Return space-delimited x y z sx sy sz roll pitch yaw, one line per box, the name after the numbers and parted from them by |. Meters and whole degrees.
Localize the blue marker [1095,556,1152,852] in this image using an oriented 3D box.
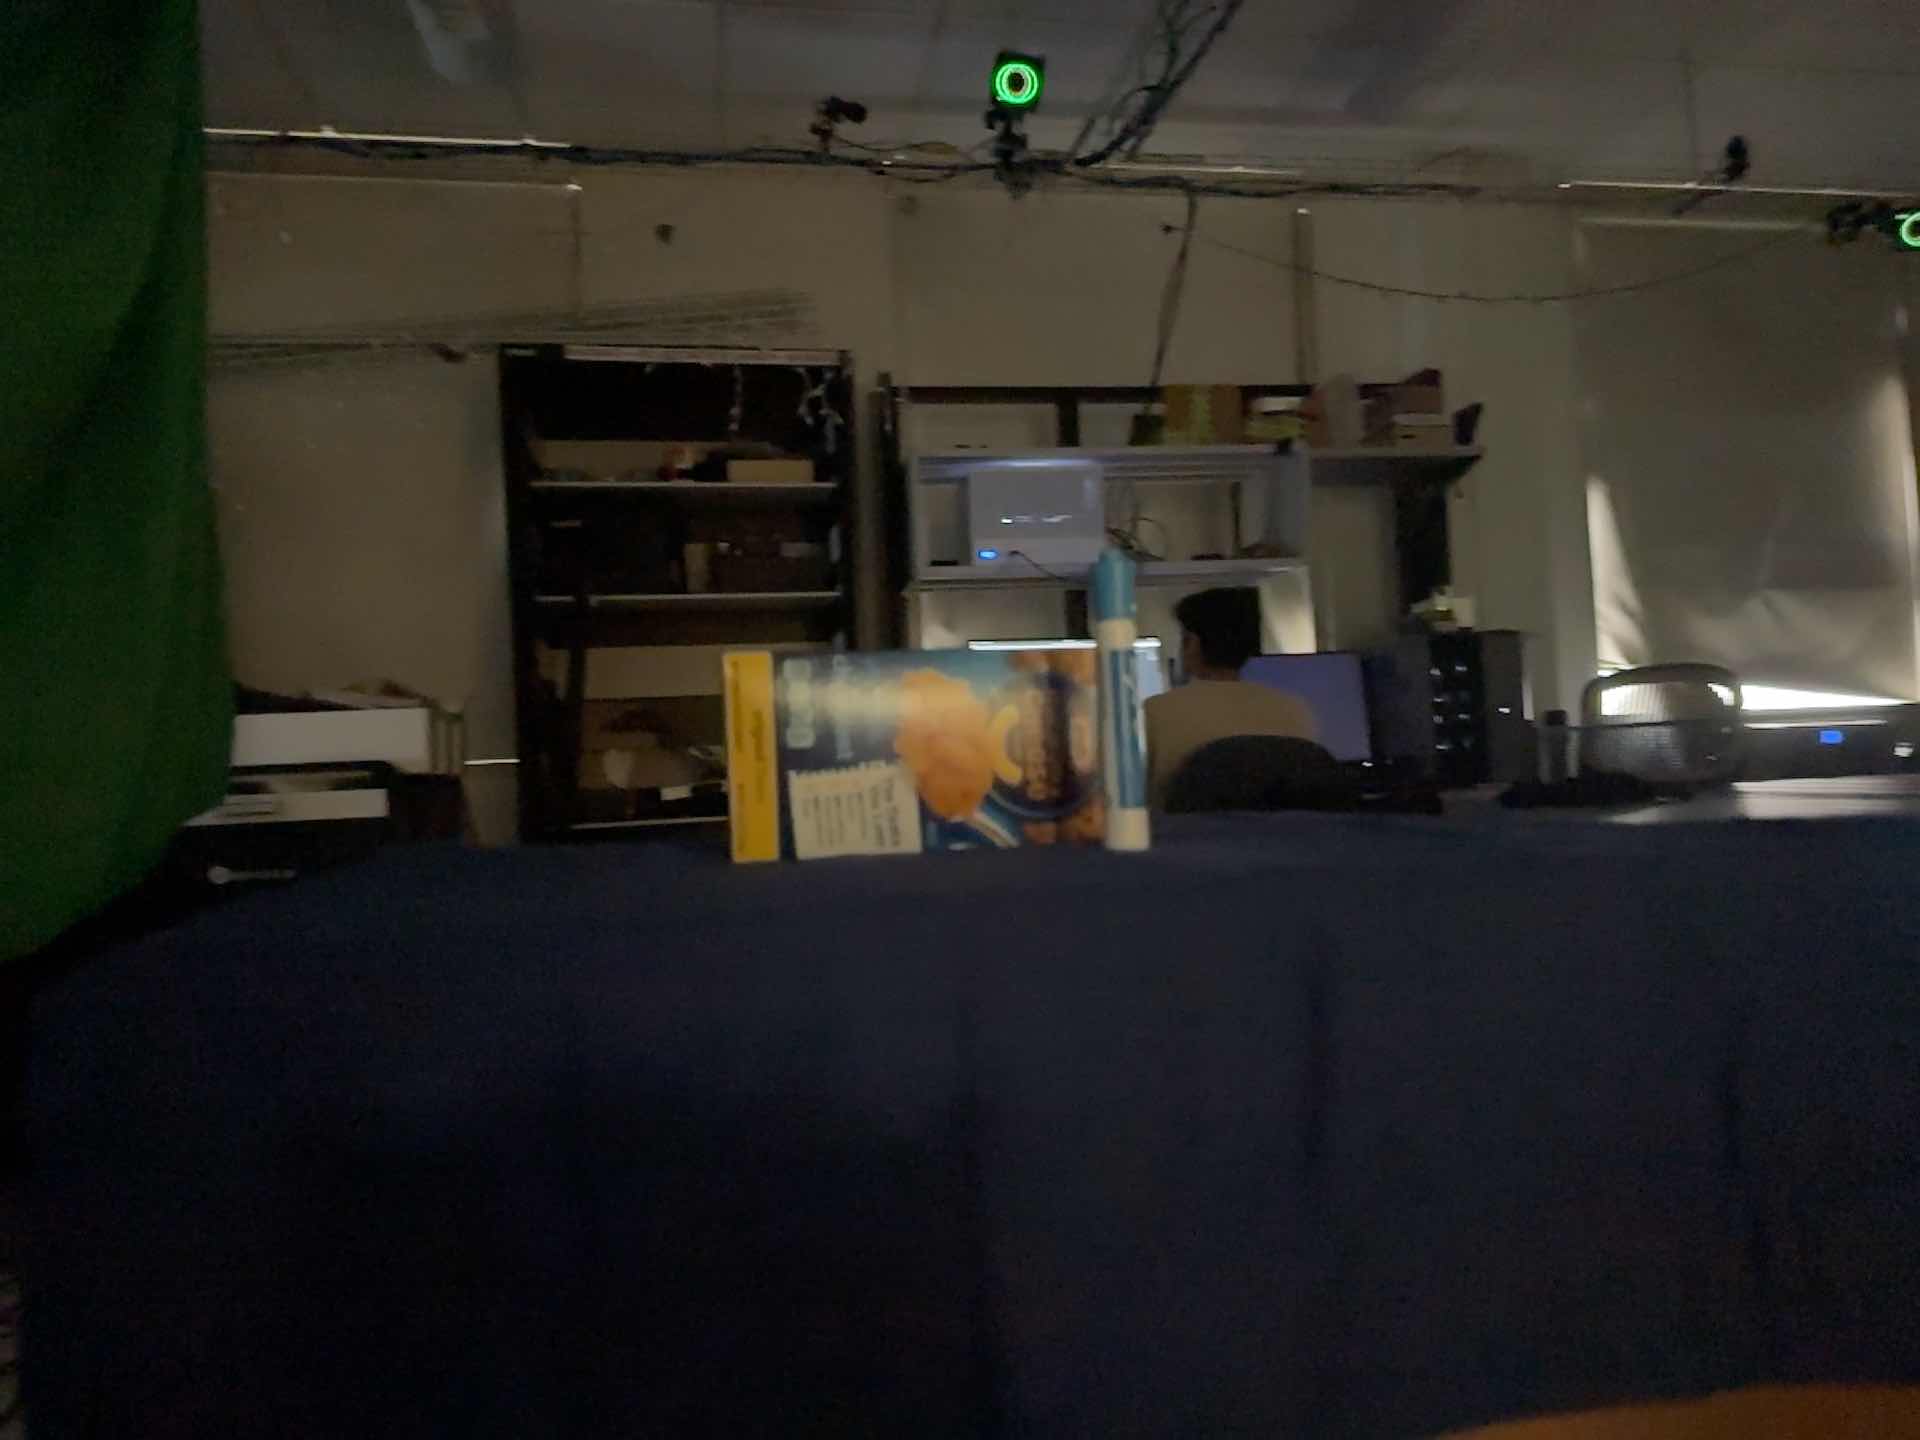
0.067 -0.007 0.552 0.020 0.121 0.020 -2 -3 0 | blue marker

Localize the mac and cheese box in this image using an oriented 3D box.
-0.011 0.013 0.605 0.181 0.088 0.035 -3 -3 -13 | mac and cheese box
